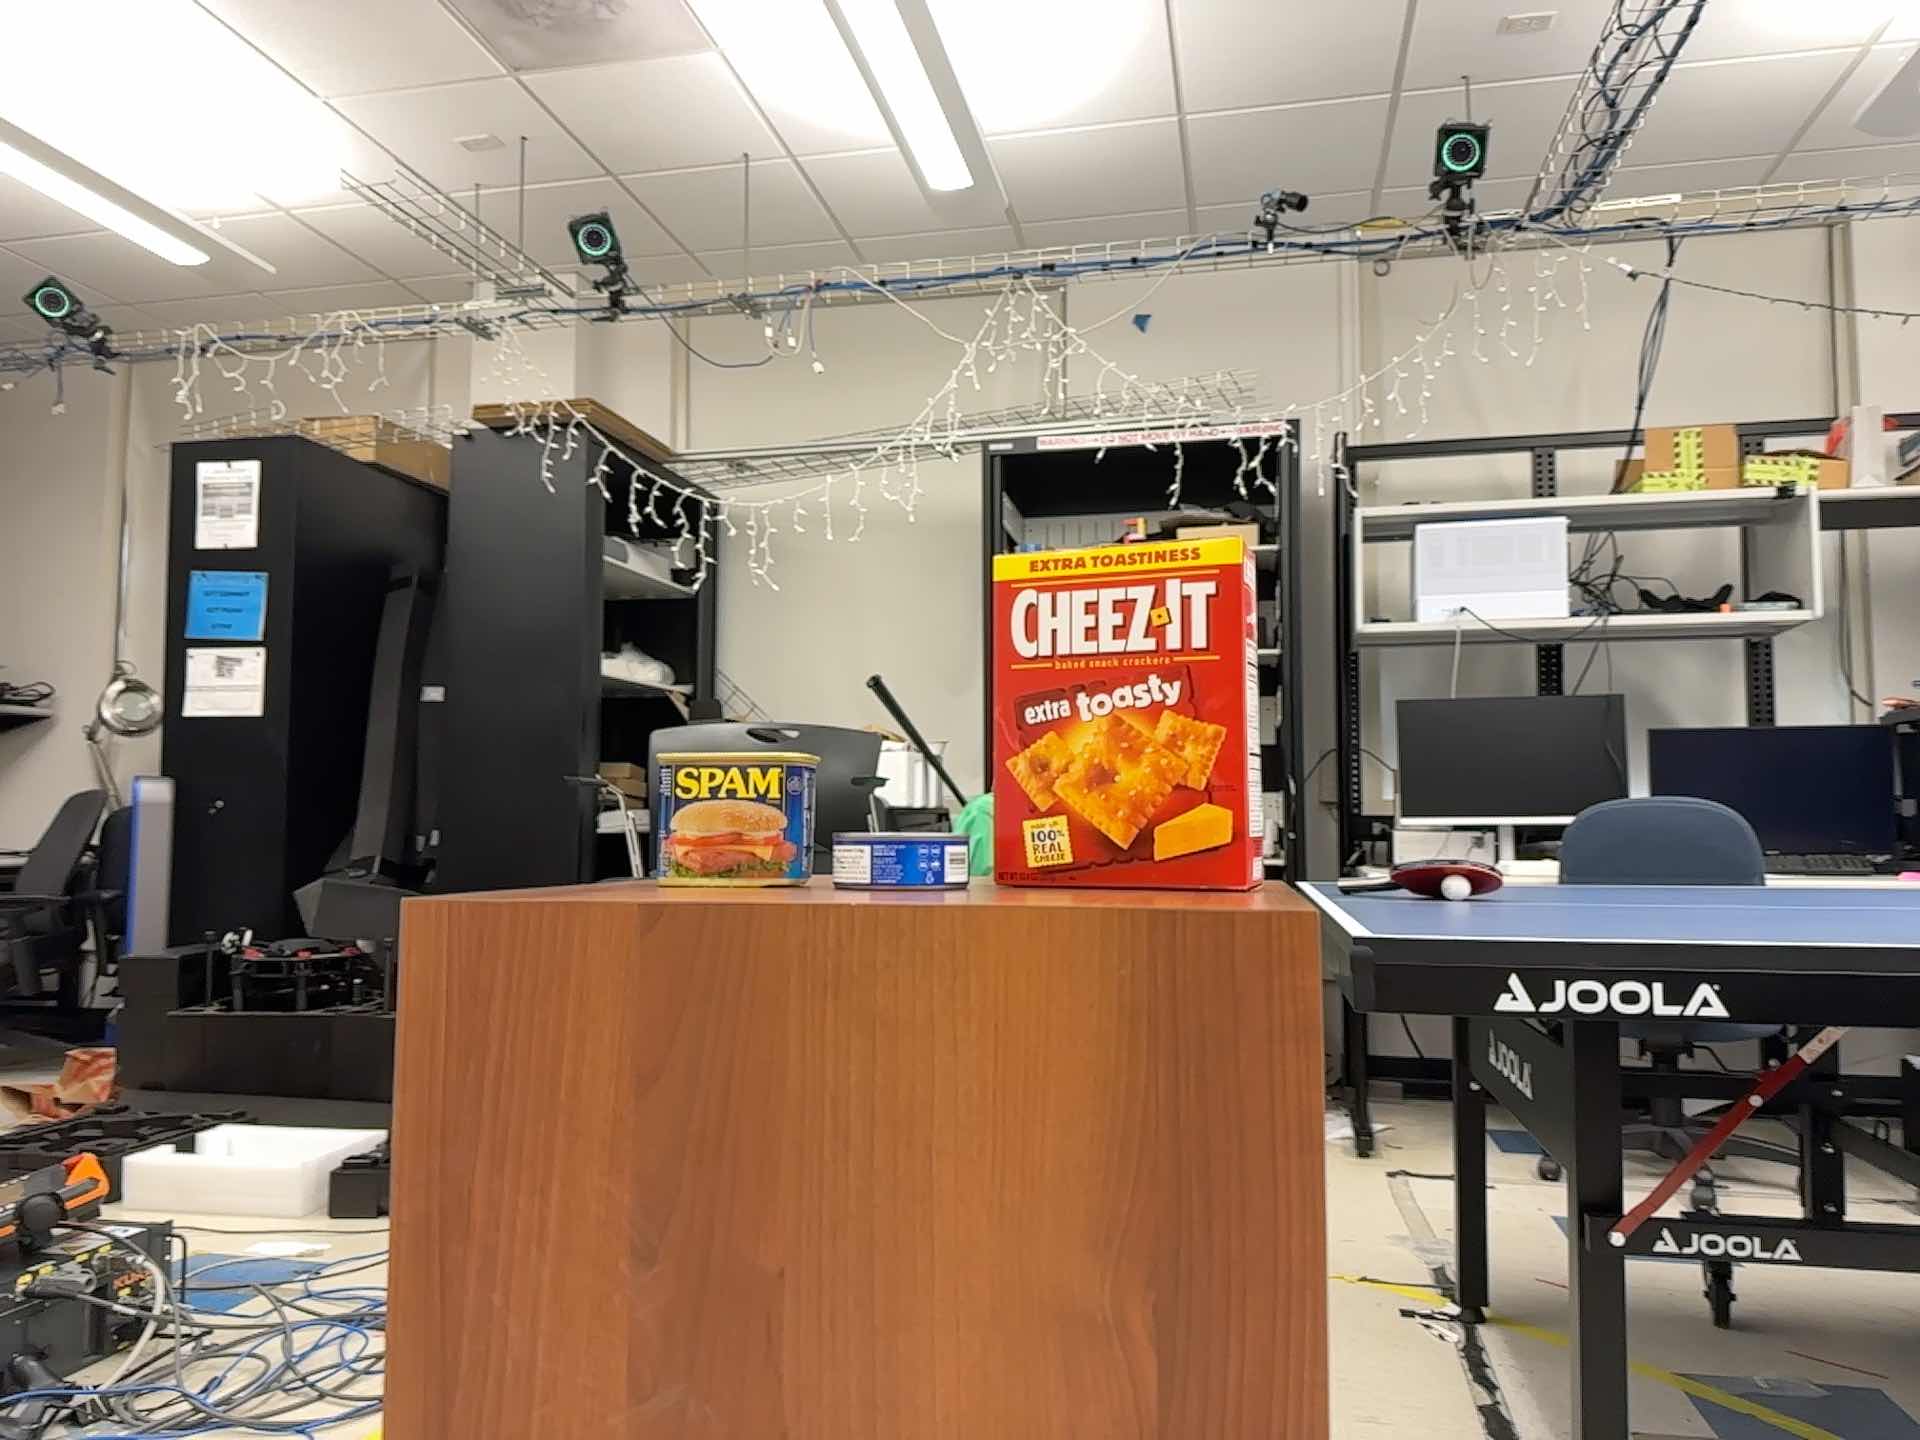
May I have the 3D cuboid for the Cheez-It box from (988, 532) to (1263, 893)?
[{"bbox_3d":[0.106,-0.001,0.874,0.159,0.214,0.062,-2,-6,18],"label":"Cheez-It box"}]

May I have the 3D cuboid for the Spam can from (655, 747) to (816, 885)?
[{"bbox_3d":[-0.145,0.063,0.867,0.100,0.083,0.056,-2,-7,21],"label":"Spam can"}]

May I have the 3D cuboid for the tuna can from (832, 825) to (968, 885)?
[{"bbox_3d":[-0.037,0.084,0.835,0.083,0.034,0.083,-1,-8,0],"label":"tuna can"}]
